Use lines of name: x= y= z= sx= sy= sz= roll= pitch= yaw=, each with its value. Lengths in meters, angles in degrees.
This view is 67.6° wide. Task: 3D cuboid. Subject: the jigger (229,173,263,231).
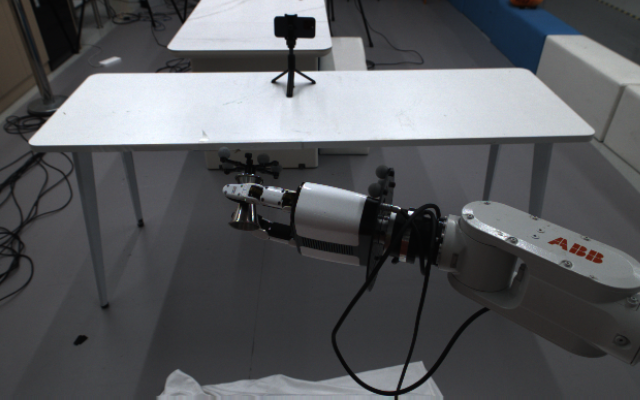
jigger: x=-0.100 y=0.002 z=0.653 sx=0.043 sy=0.043 sz=0.071 roll=3 pitch=72 yaw=1
